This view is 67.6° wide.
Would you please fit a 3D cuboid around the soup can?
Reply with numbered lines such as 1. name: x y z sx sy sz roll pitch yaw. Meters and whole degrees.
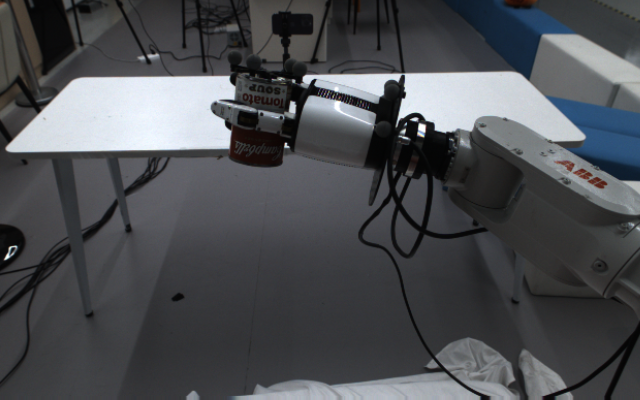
1. soup can: -0.071 -0.097 0.583 0.067 0.101 0.067 8 19 -3
